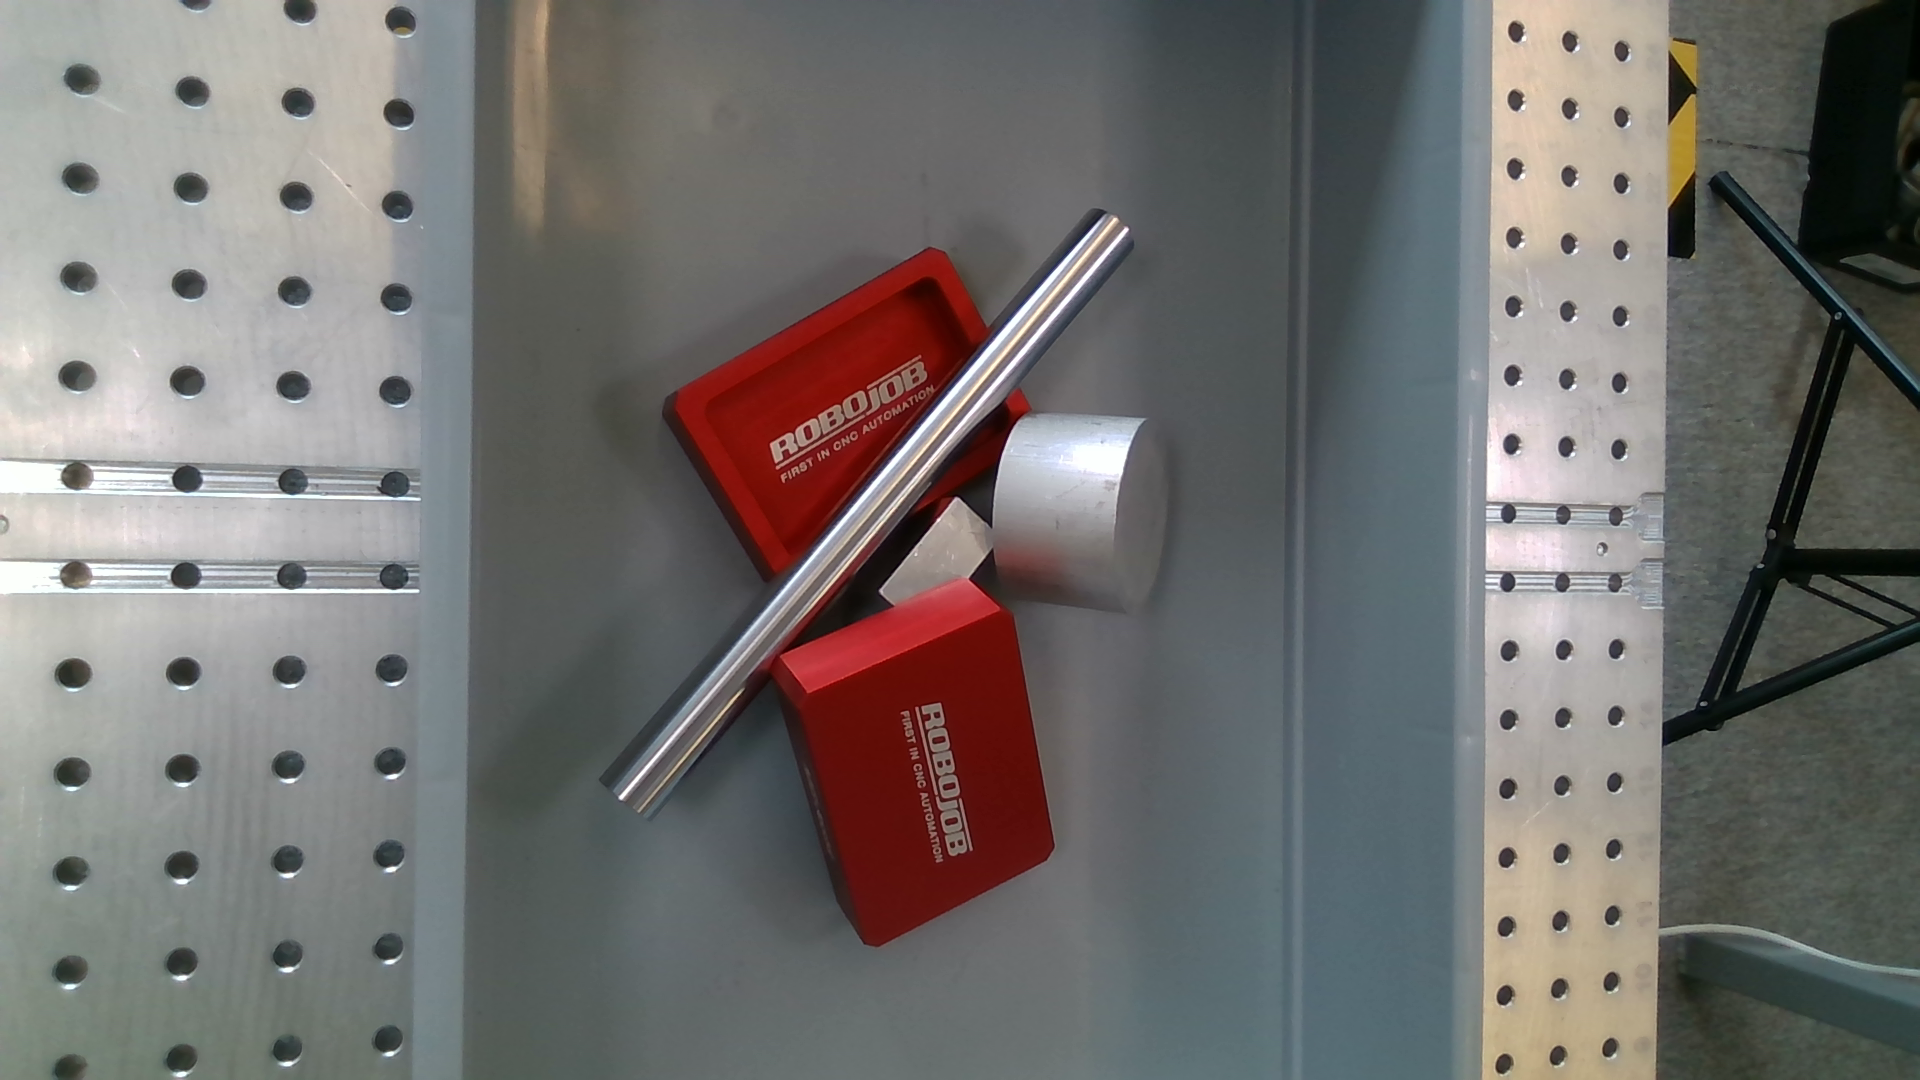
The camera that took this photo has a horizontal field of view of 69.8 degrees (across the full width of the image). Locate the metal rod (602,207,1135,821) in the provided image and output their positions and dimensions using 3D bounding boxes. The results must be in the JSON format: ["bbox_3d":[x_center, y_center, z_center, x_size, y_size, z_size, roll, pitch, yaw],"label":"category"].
[{"bbox_3d":[-0.030,-0.017,0.542,0.025,0.025,0.300,43,77,-15],"label":"metal rod"}]

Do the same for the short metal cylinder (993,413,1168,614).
[{"bbox_3d":[0.051,-0.012,0.568,0.050,0.080,0.080,7,87,22],"label":"short metal cylinder"}]

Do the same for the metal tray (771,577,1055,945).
[{"bbox_3d":[-0.015,0.089,0.550,0.090,0.030,0.130,-22,122,-19],"label":"metal tray"}]

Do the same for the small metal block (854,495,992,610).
[{"bbox_3d":[-0.016,0.009,0.565,0.025,0.050,0.050,43,77,-15],"label":"small metal block"}]

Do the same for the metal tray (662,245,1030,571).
[{"bbox_3d":[-0.043,-0.050,0.566,0.130,0.030,0.090,-33,101,-17],"label":"metal tray"}]
